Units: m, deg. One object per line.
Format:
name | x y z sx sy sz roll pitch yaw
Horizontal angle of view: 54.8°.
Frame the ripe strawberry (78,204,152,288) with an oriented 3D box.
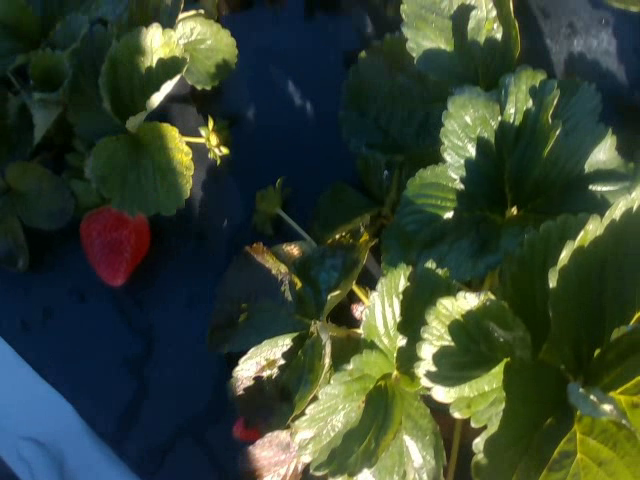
ripe strawberry | -0.121 0.003 0.366 0.045 0.059 0.042 -21 -18 36
